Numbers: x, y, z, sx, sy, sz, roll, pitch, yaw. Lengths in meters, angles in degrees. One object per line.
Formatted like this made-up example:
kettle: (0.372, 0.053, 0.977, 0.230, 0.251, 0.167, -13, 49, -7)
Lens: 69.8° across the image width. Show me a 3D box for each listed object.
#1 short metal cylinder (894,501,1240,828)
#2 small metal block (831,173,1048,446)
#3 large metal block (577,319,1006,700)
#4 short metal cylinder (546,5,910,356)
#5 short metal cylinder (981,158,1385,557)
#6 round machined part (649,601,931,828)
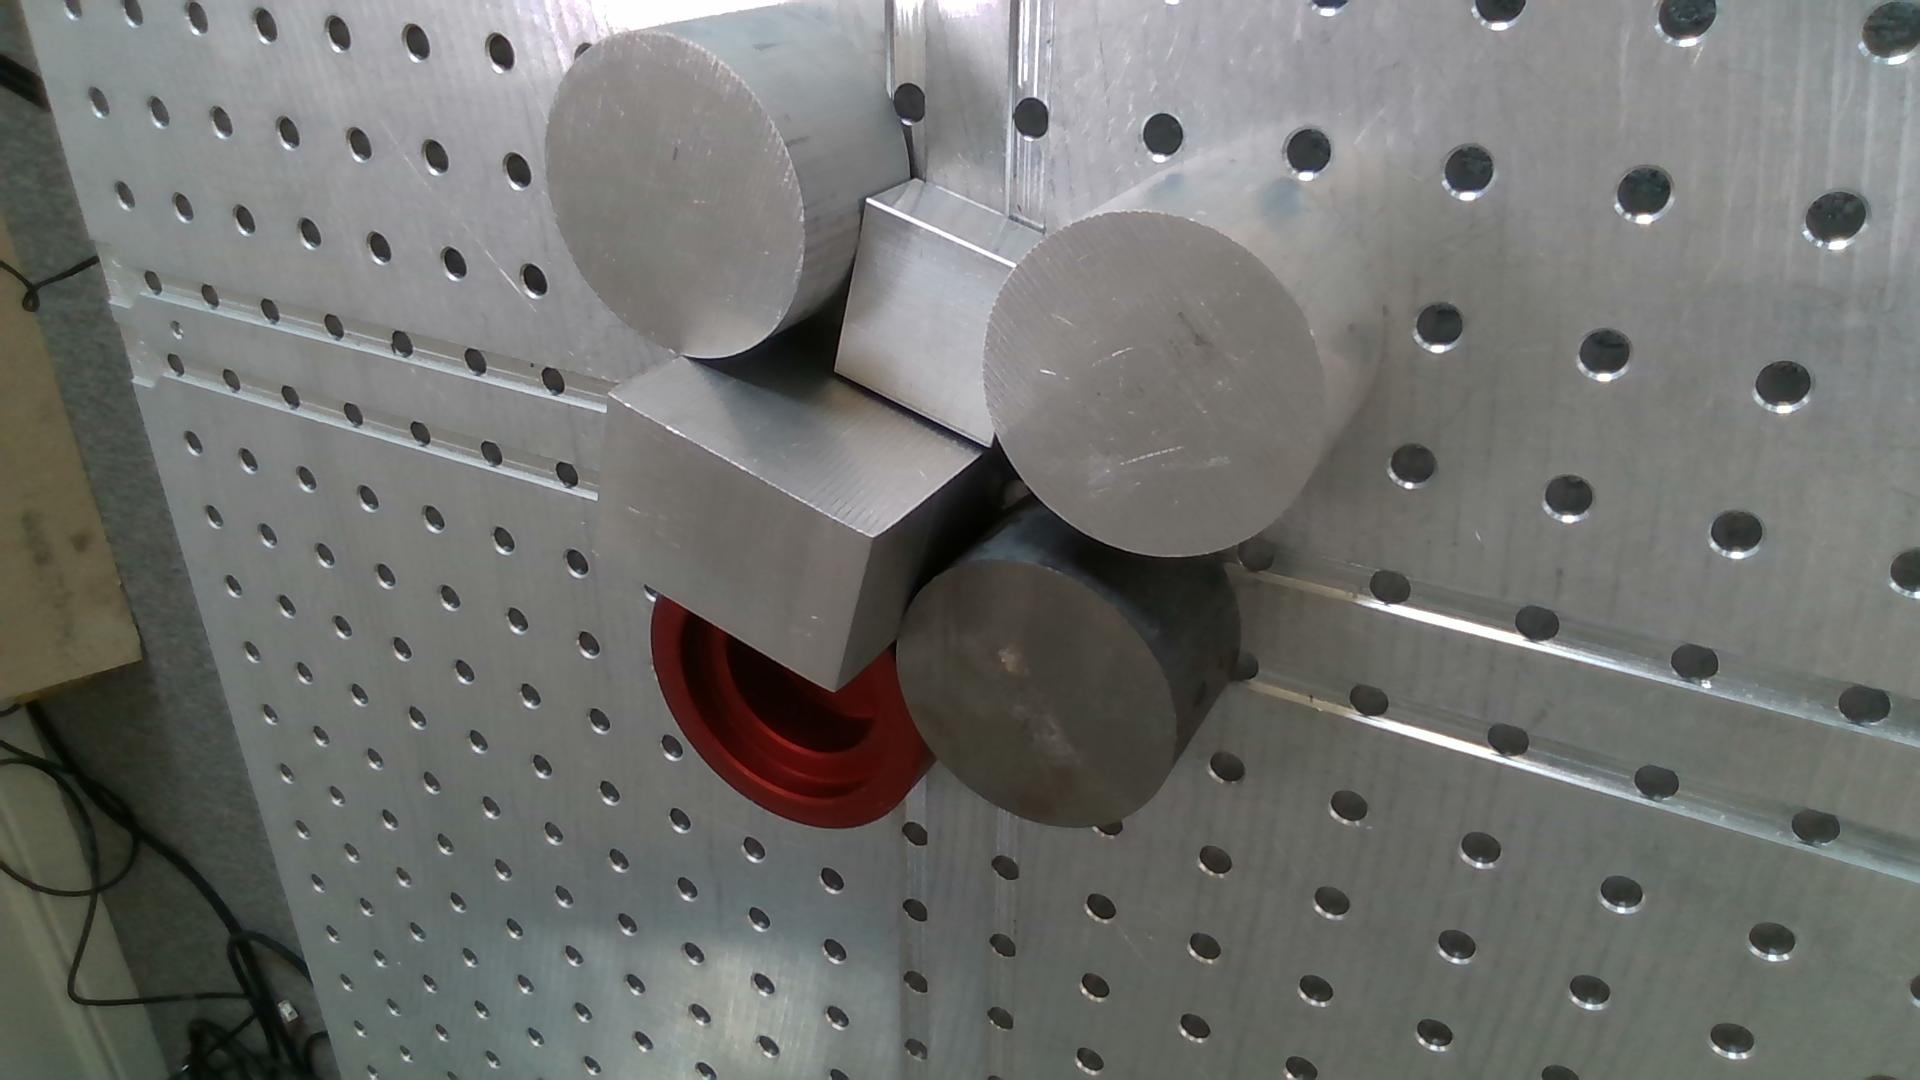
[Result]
short metal cylinder: (0.029, 0.030, 0.374, 0.080, 0.050, 0.080, 15, 122, 25)
small metal block: (-0.002, -0.061, 0.360, 0.050, 0.025, 0.050, 27, 126, 16)
large metal block: (-0.043, -0.015, 0.371, 0.080, 0.080, 0.050, 28, 127, 16)
short metal cylinder: (-0.060, -0.095, 0.361, 0.080, 0.050, 0.080, 15, 122, 25)
short metal cylinder: (0.052, -0.043, 0.320, 0.080, 0.050, 0.080, 15, 122, 25)
round machined part: (-0.045, 0.037, 0.429, 0.098, 0.042, 0.098, 15, 122, 25)
